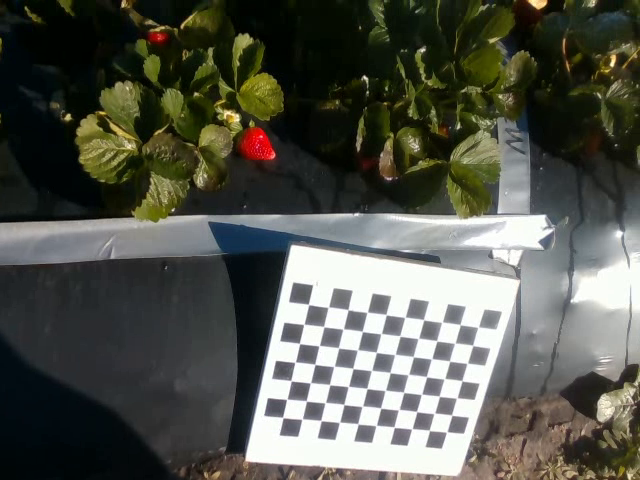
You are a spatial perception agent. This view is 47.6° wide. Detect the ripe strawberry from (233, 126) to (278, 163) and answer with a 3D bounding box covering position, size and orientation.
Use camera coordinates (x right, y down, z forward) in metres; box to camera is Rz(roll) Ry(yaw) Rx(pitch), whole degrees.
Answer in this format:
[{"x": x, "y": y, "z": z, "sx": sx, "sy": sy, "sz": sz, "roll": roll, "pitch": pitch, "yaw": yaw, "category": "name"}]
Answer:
[{"x": -0.076, "y": -0.111, "z": 0.838, "sx": 0.058, "sy": 0.046, "sz": 0.042, "roll": 39, "pitch": 5, "yaw": -3, "category": "ripe strawberry"}]
